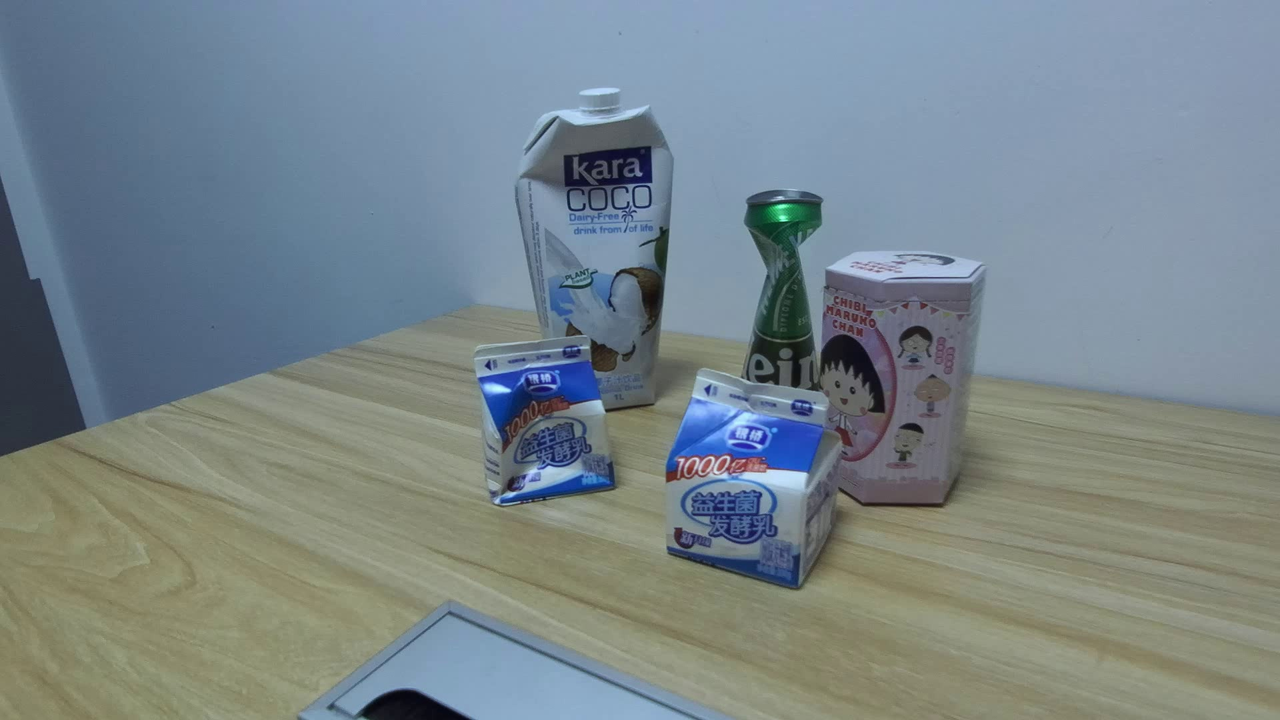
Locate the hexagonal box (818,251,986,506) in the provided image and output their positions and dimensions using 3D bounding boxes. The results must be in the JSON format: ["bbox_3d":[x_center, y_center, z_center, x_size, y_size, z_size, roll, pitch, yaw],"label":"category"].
[{"bbox_3d":[0.153,0.010,0.424,0.084,0.136,0.091,-10,21,-25],"label":"hexagonal box"}]

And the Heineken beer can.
[{"bbox_3d":[0.110,-0.043,0.540,0.078,0.164,0.065,-18,22,-42],"label":"Heineken beer can"}]

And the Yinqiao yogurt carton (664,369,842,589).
[{"bbox_3d":[0.061,0.053,0.369,0.075,0.092,0.074,10,22,26],"label":"Yinqiao yogurt carton"}]

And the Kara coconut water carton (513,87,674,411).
[{"bbox_3d":[-0.032,-0.080,0.540,0.115,0.238,0.069,-7,21,-16],"label":"Kara coconut water carton"}]

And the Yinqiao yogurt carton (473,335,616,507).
[{"bbox_3d":[-0.061,0.031,0.442,0.077,0.094,0.071,-8,24,-12],"label":"Yinqiao yogurt carton"}]
